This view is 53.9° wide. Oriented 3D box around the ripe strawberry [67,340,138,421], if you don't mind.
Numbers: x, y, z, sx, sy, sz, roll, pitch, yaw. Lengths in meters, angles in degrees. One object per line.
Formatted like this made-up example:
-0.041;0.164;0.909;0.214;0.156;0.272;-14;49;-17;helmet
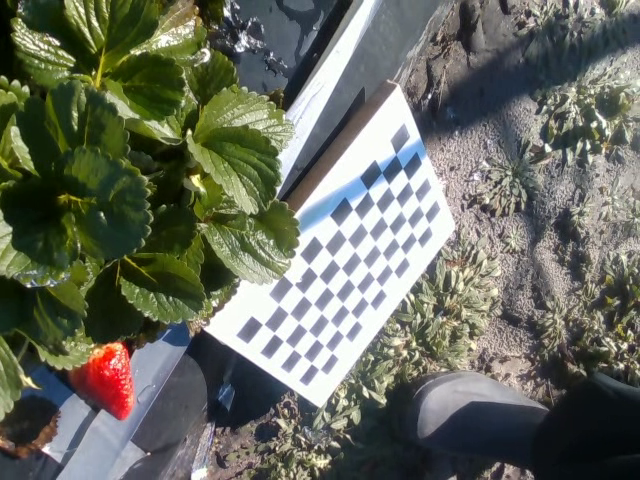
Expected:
-0.174;0.121;0.533;0.061;0.065;0.057;-31;3;-36;ripe strawberry
